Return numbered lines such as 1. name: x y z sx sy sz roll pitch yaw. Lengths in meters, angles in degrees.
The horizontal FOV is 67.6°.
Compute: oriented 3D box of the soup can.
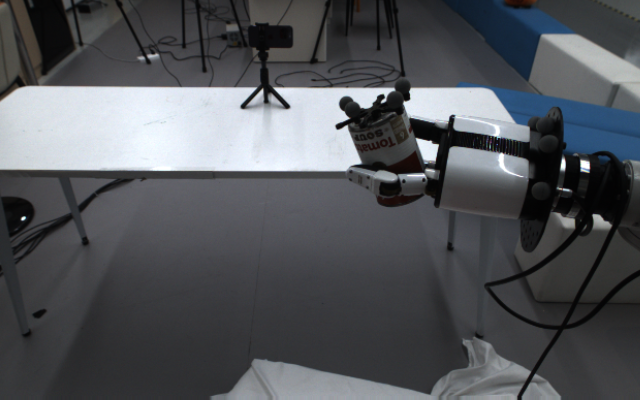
1. soup can: 0.083 -0.053 0.555 0.067 0.101 0.067 -22 24 10
